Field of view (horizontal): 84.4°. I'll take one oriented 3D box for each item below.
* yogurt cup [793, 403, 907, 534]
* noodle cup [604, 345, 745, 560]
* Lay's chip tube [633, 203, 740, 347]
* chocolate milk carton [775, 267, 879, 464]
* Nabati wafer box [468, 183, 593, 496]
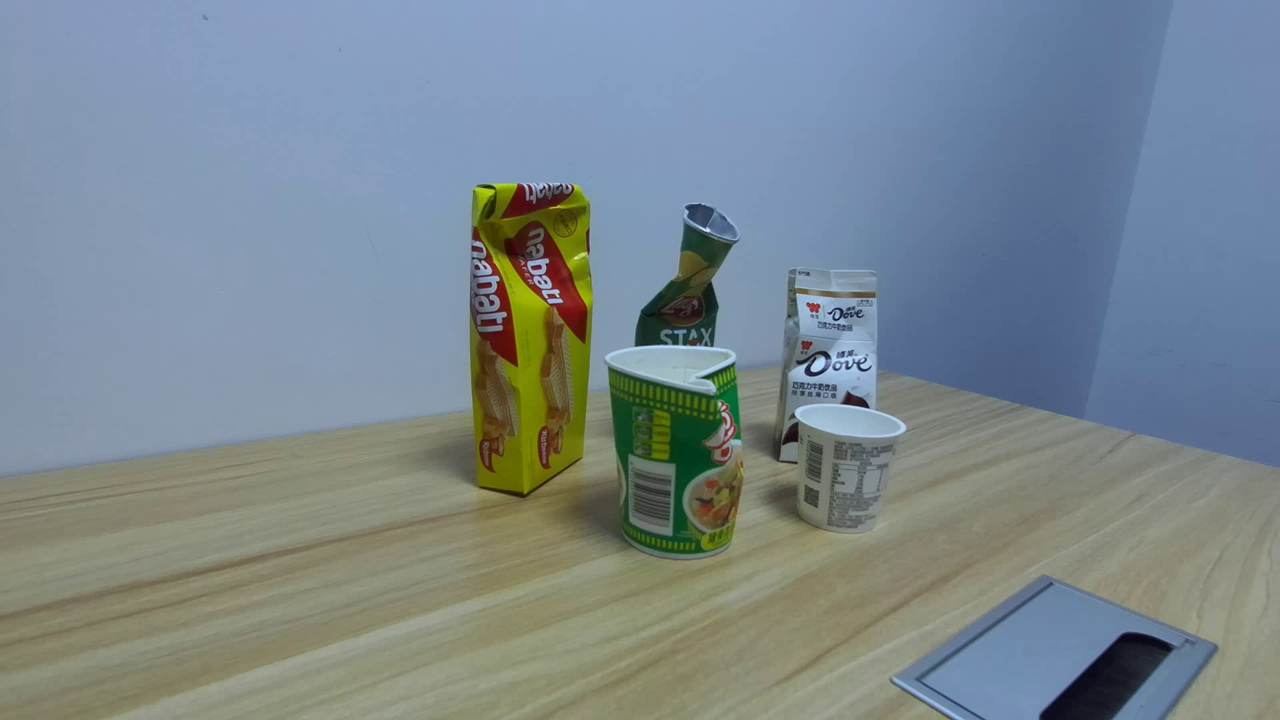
[{"bbox_3d":[0.133,0.071,0.463,0.072,0.068,0.072,3,14,0],"label":"yogurt cup"},{"bbox_3d":[0.024,0.052,0.421,0.086,0.109,0.094,13,16,35],"label":"noodle cup"},{"bbox_3d":[0.036,-0.021,0.566,0.070,0.199,0.079,21,22,32],"label":"Lay's chip tube"},{"bbox_3d":[0.157,0.002,0.577,0.084,0.155,0.073,5,15,5],"label":"chocolate milk carton"},{"bbox_3d":[-0.073,-0.017,0.492,0.042,0.205,0.113,7,14,23],"label":"Nabati wafer box"}]
